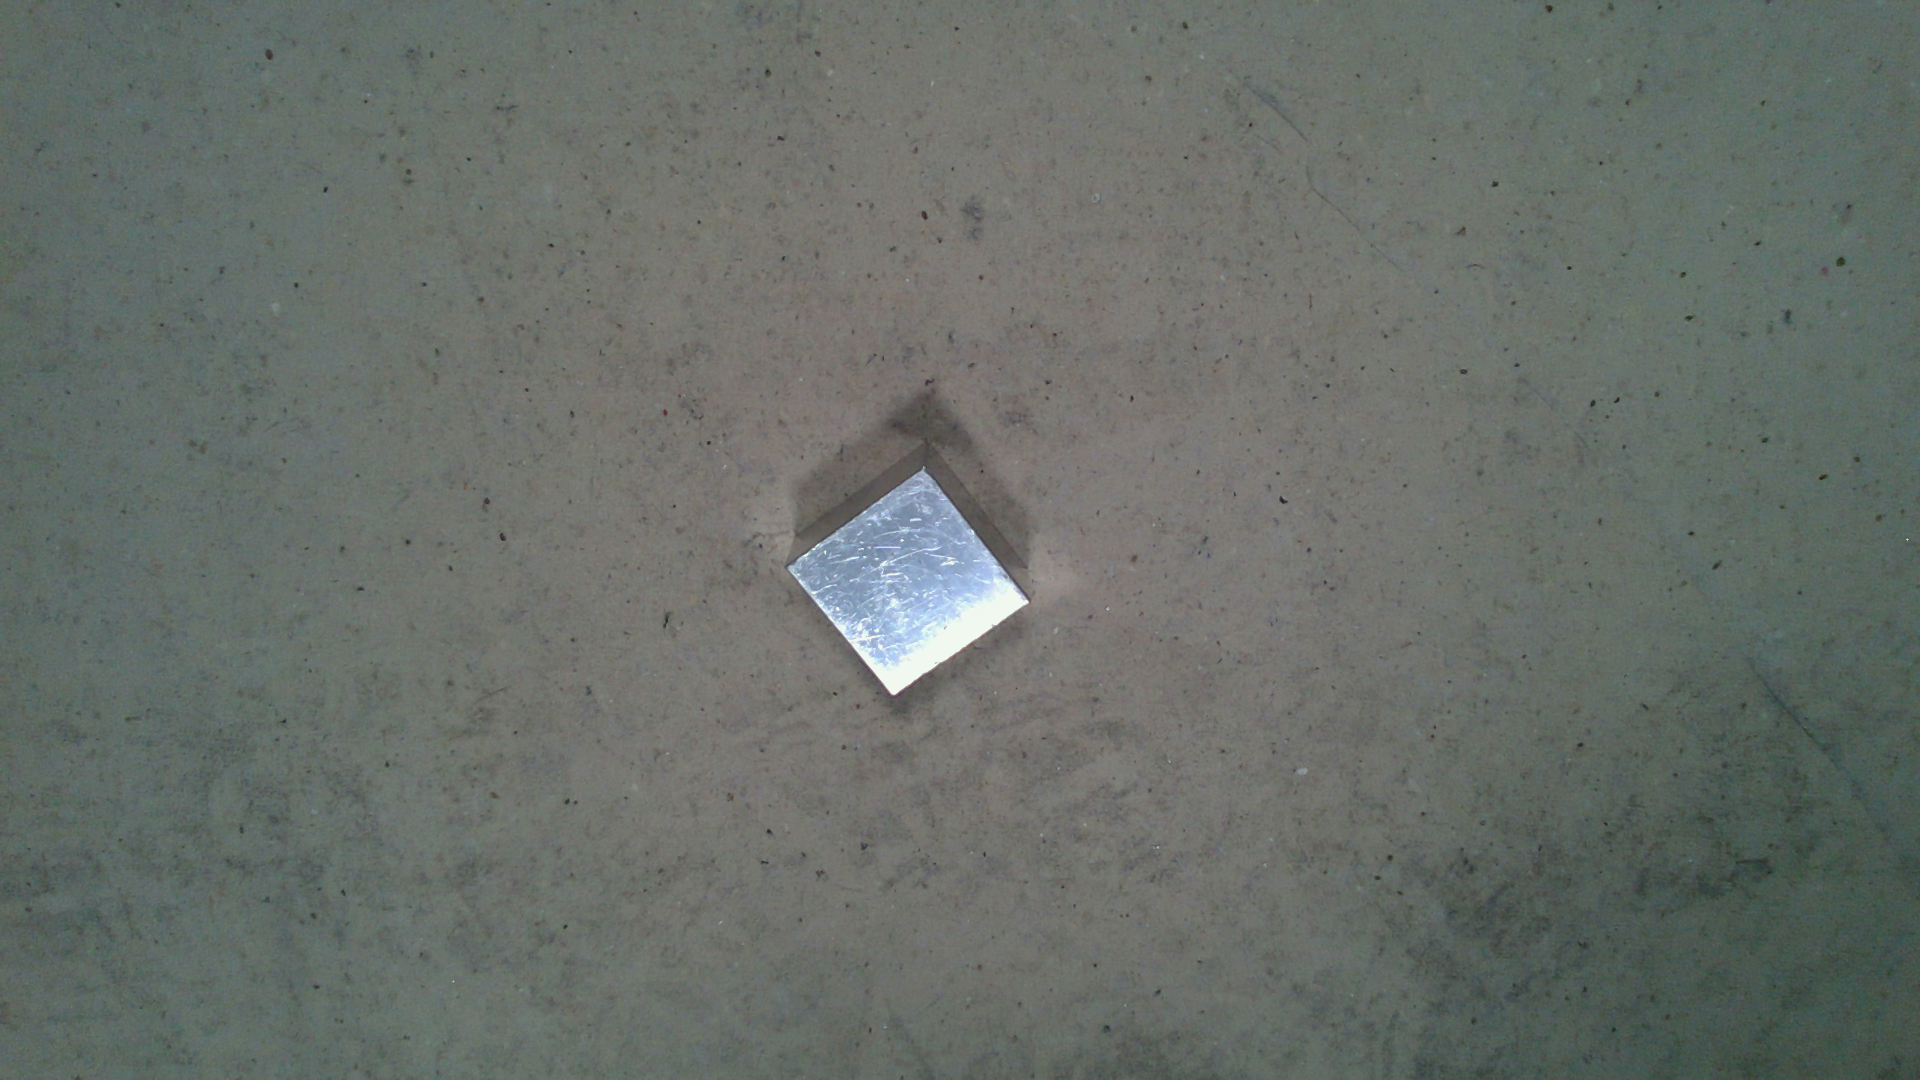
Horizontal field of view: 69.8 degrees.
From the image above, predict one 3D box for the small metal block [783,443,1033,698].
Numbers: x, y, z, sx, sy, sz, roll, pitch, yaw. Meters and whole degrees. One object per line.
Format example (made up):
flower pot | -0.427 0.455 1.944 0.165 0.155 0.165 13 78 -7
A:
small metal block | -0.014 0.008 0.397 0.050 0.025 0.050 -35 107 12
